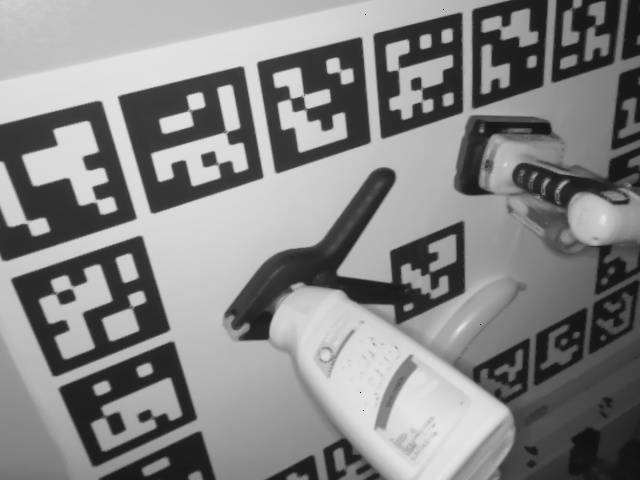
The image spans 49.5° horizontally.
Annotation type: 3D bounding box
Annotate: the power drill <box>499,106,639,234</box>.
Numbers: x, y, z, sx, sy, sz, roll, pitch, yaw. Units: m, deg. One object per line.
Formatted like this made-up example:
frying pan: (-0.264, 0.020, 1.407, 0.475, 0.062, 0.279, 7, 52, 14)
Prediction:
power drill: (0.274, -0.067, 0.644, 0.187, 0.186, 0.057, -6, 122, -29)

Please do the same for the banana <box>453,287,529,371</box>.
banana: (0.191, 0.124, 0.802, 0.197, 0.038, 0.075, -52, 142, 1)

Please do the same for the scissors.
scissors: (0.339, -0.012, 0.720, 0.205, 0.016, 0.087, 8, 104, -27)

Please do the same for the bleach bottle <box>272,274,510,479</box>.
bleach bottle: (0.028, 0.096, 0.562, 0.104, 0.249, 0.068, -38, 129, -16)

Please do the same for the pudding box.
pudding box: (0.303, -0.040, 0.766, 0.115, 0.089, 0.038, -14, 125, -22)

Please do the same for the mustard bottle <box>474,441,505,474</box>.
mustard bottle: (0.120, 0.168, 0.704, 0.097, 0.190, 0.058, -4, 115, -26)

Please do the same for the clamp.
clamp: (0.013, 0.031, 0.652, 0.205, 0.036, 0.164, -24, 119, -16)
